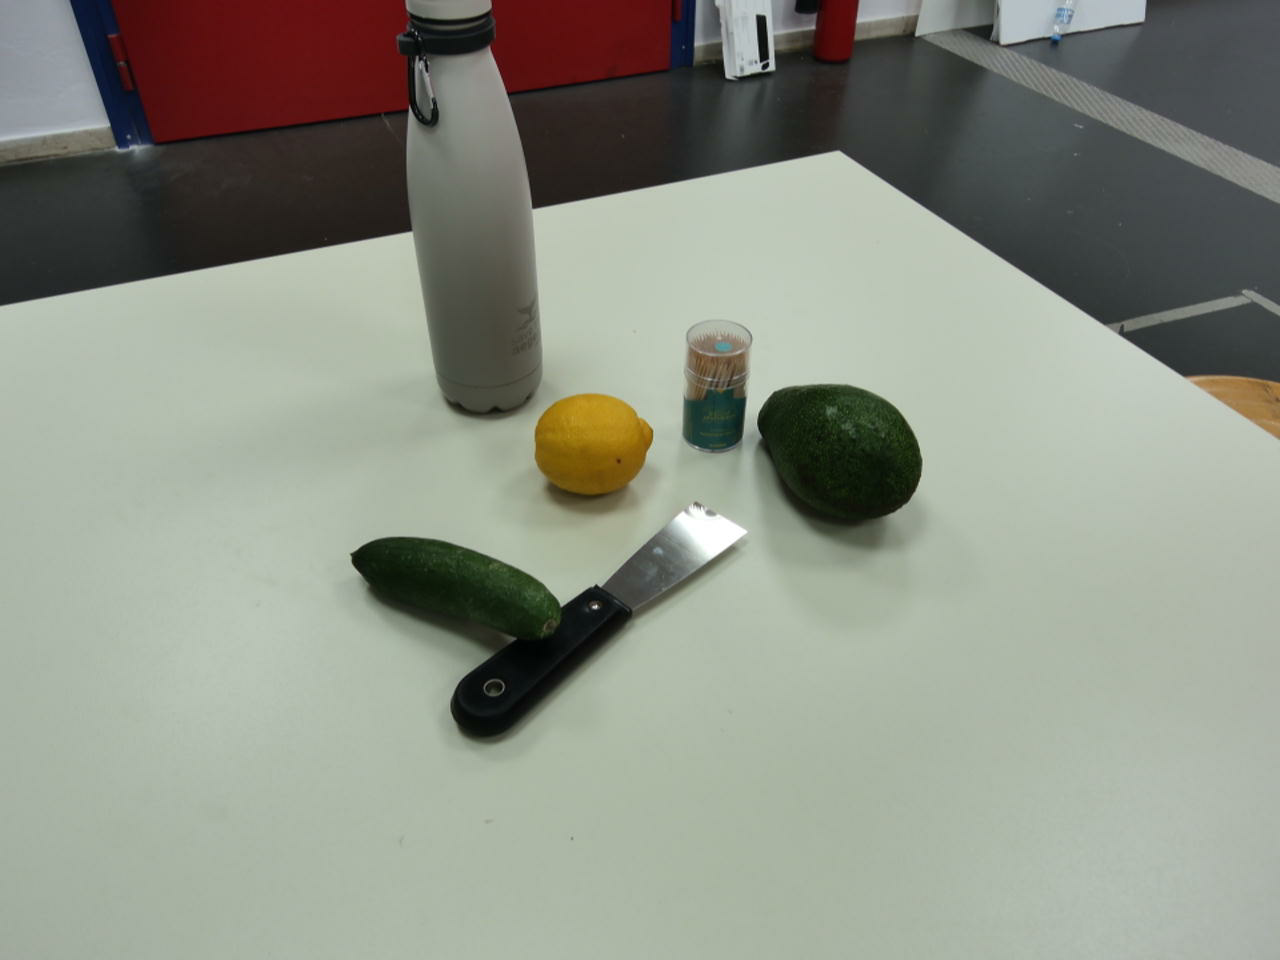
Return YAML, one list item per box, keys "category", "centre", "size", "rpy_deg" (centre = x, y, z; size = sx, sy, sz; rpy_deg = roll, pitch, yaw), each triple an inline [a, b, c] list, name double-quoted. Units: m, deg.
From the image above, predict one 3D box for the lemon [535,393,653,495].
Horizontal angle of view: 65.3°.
- category: "lemon"
  centre: [-0.029, -0.021, 0.588]
  size: [0.067, 0.059, 0.060]
  rpy_deg: [11, 40, 13]
